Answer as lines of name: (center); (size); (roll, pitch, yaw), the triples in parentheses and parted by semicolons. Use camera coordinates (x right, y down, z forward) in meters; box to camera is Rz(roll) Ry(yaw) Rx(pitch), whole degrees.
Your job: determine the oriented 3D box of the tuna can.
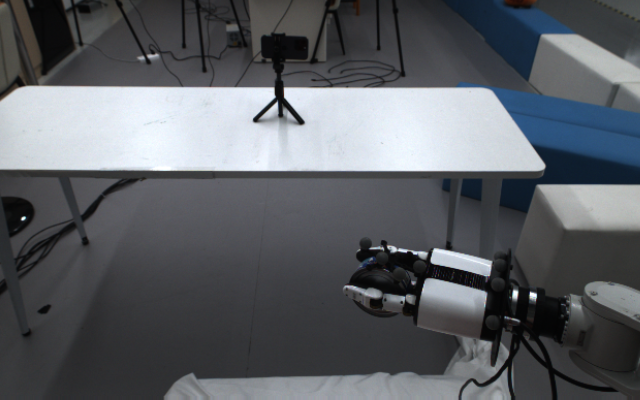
tuna can: (0.091, 0.123, 0.695); (0.085, 0.085, 0.034); (16, 29, 19)
